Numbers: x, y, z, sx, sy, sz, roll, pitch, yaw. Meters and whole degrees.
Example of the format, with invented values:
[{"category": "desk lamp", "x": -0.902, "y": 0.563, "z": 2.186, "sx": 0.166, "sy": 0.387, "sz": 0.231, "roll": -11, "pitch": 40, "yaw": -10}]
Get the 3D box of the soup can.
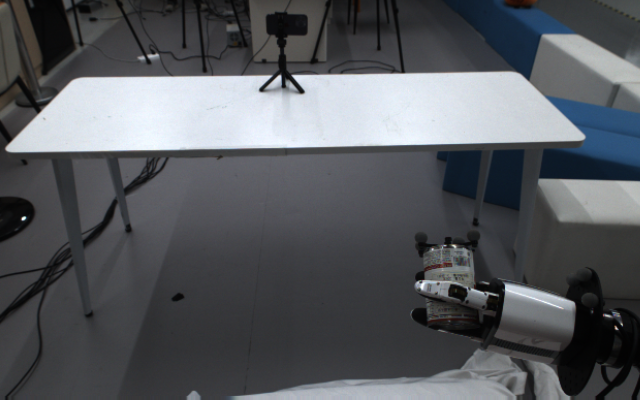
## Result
[{"category": "soup can", "x": 0.176, "y": 0.117, "z": 0.645, "sx": 0.067, "sy": 0.067, "sz": 0.101, "roll": 1, "pitch": 68, "yaw": -1}]
